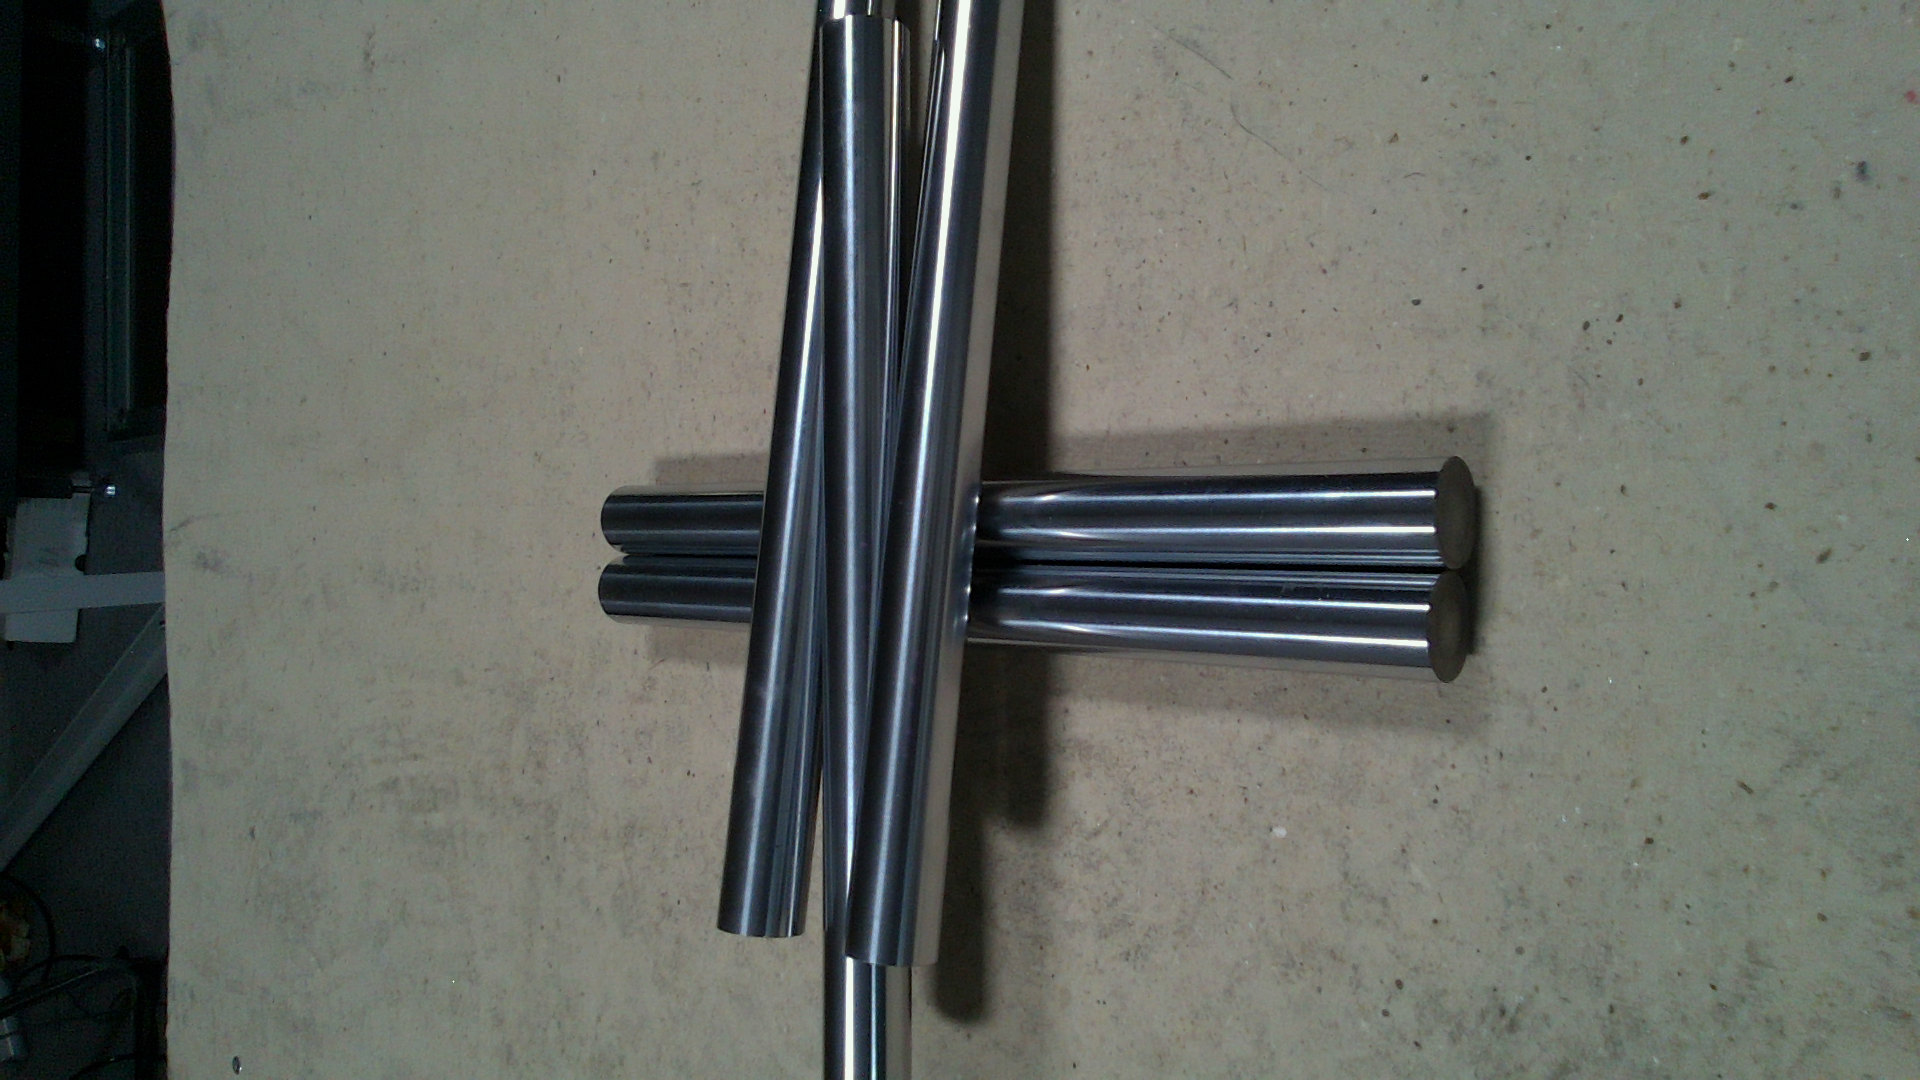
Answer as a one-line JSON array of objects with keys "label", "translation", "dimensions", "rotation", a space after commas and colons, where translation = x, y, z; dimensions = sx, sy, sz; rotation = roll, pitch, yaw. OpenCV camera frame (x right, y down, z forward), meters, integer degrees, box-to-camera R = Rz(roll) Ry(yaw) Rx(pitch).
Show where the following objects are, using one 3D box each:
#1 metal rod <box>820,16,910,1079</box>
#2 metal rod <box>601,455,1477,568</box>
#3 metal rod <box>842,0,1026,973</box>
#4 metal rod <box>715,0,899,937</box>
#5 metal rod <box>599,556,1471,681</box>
[{"label": "metal rod", "translation": [-0.026, 0.008, 0.384], "dimensions": [0.025, 0.025, 0.300], "rotation": [0, 89, 40]}, {"label": "metal rod", "translation": [-0.005, -0.007, 0.400], "dimensions": [0.299, 0.025, 0.025], "rotation": [0, 90, 40]}, {"label": "metal rod", "translation": [-0.004, -0.040, 0.370], "dimensions": [0.025, 0.025, 0.300], "rotation": [0, 82, 40]}, {"label": "metal rod", "translation": [-0.043, -0.039, 0.403], "dimensions": [0.025, 0.025, 0.300], "rotation": [0, 82, 40]}, {"label": "metal rod", "translation": [-0.006, 0.018, 0.401], "dimensions": [0.299, 0.025, 0.025], "rotation": [0, 90, 40]}]
